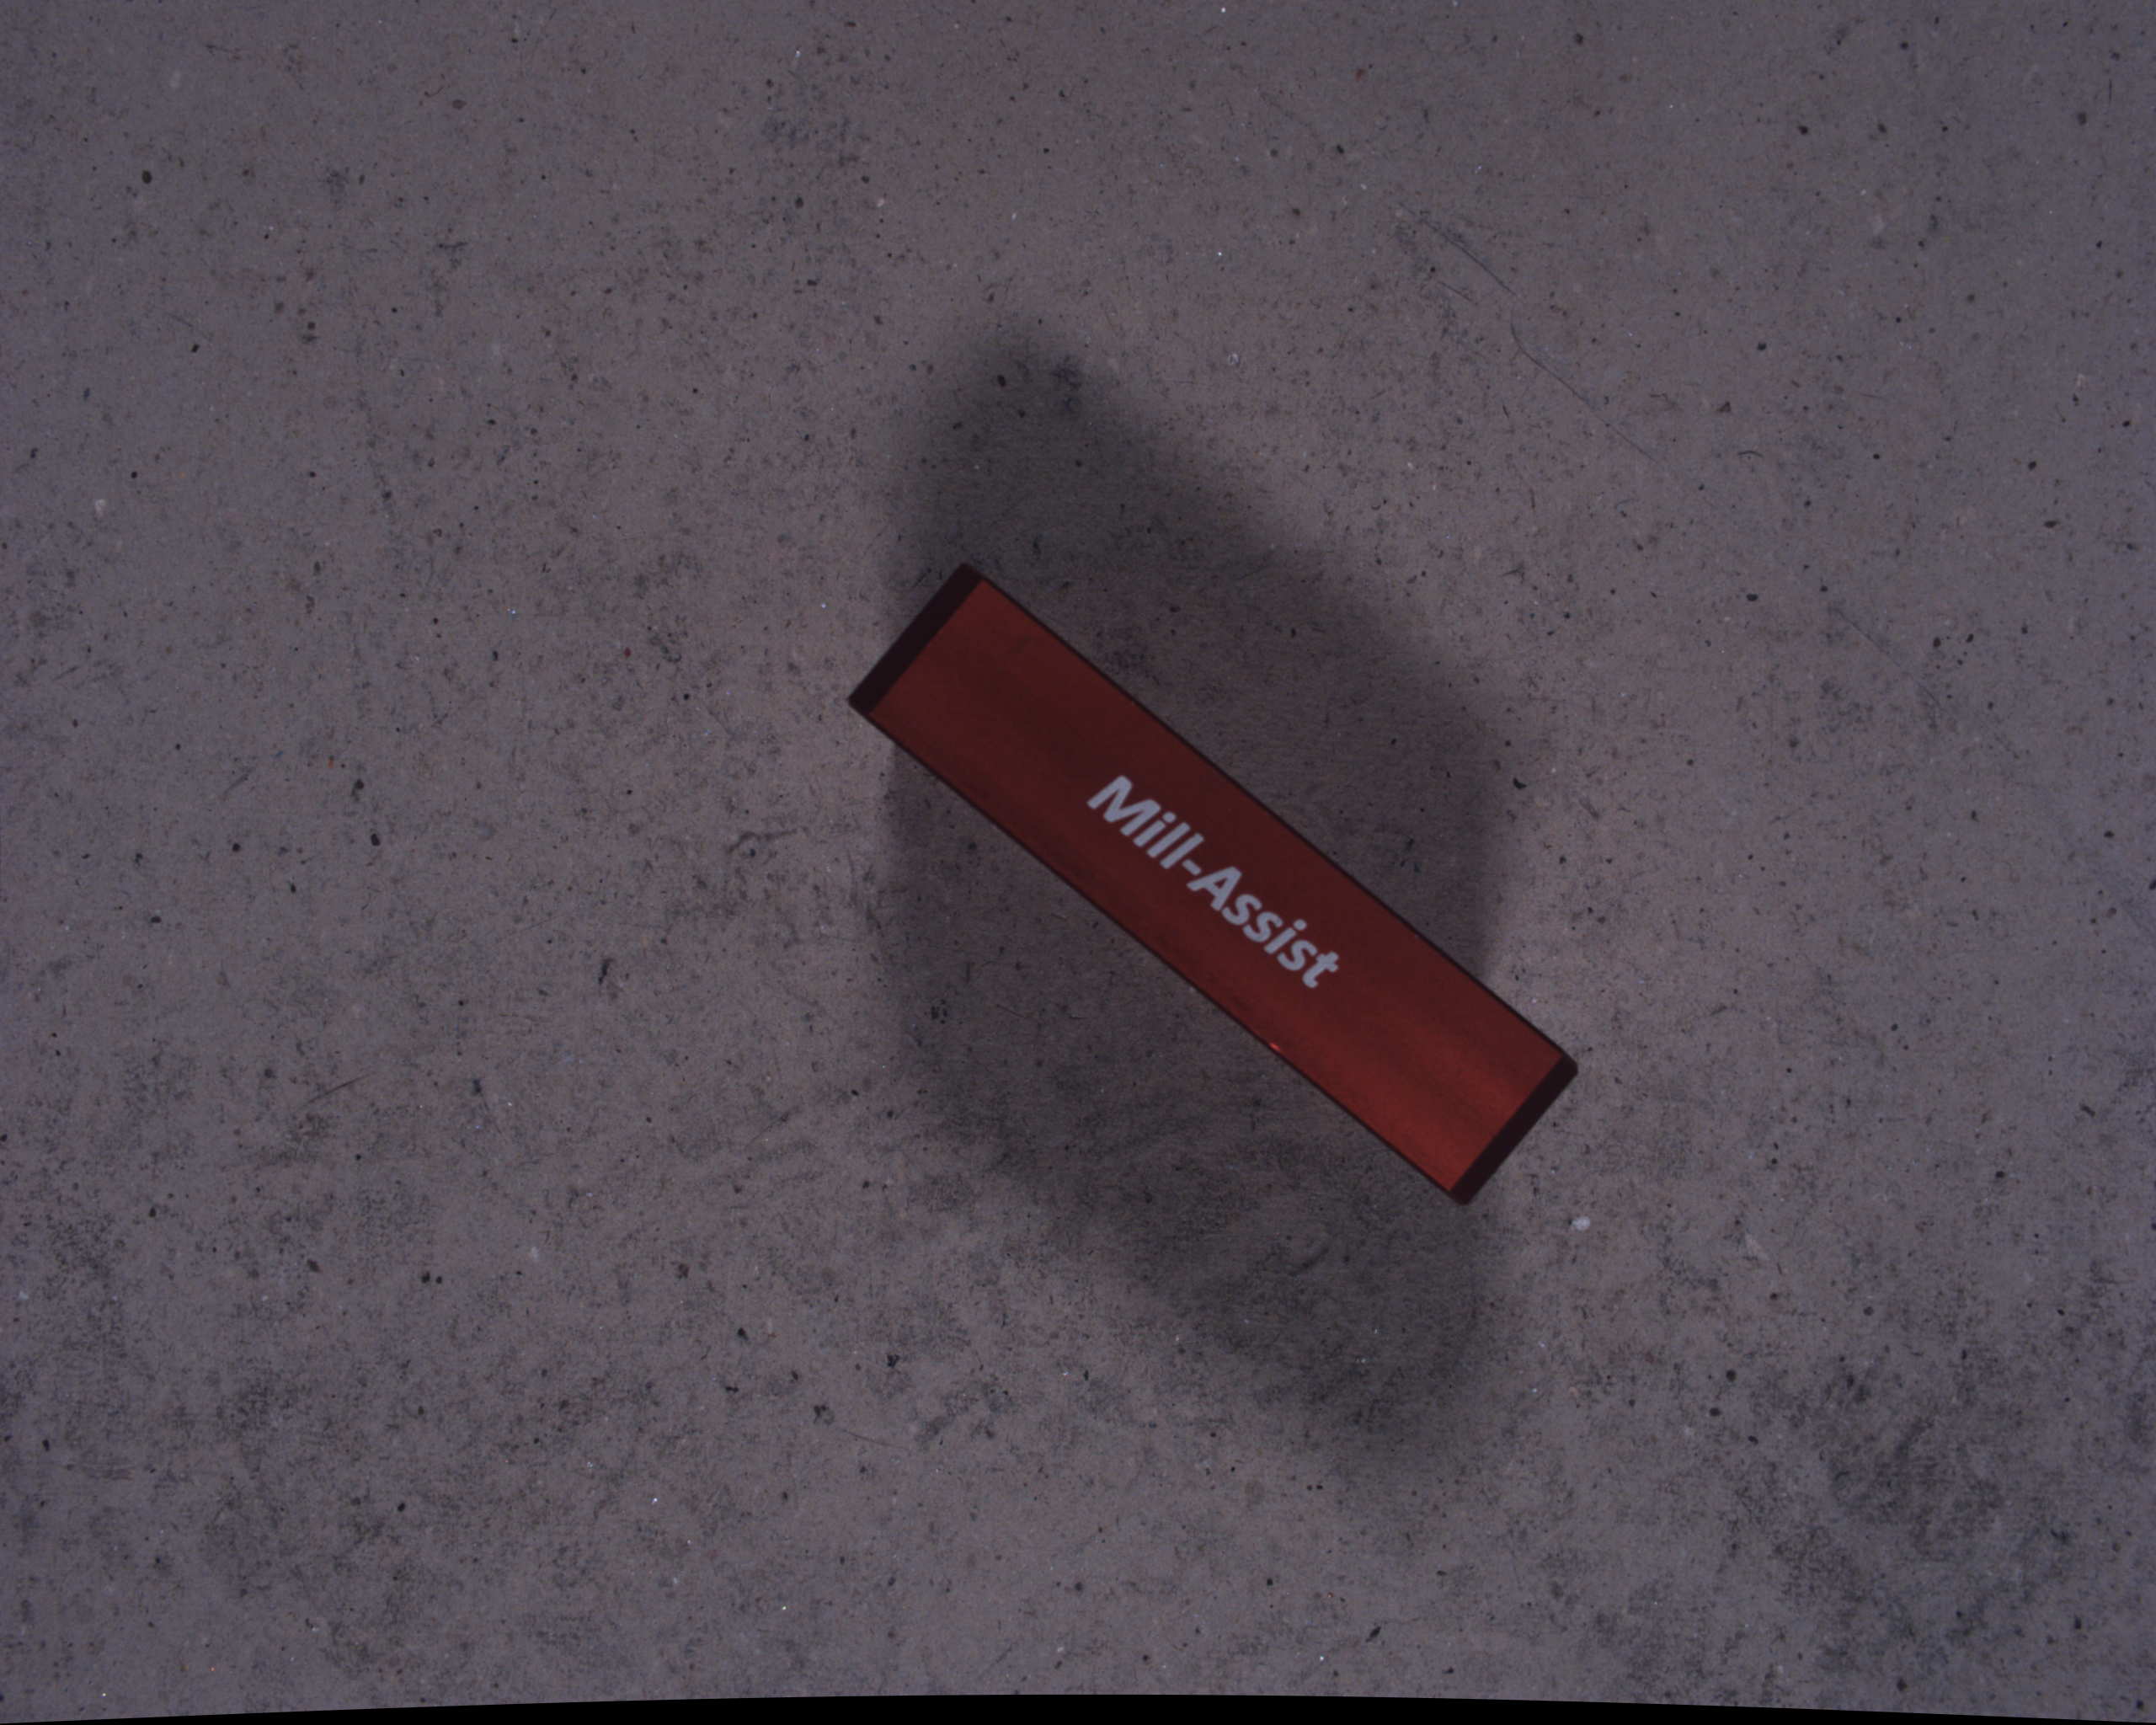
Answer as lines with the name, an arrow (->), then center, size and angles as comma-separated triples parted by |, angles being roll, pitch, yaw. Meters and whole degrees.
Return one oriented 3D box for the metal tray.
metal tray -> 0.022, 0.003, 0.379 | 0.130, 0.090, 0.030 | 39, 90, -1
